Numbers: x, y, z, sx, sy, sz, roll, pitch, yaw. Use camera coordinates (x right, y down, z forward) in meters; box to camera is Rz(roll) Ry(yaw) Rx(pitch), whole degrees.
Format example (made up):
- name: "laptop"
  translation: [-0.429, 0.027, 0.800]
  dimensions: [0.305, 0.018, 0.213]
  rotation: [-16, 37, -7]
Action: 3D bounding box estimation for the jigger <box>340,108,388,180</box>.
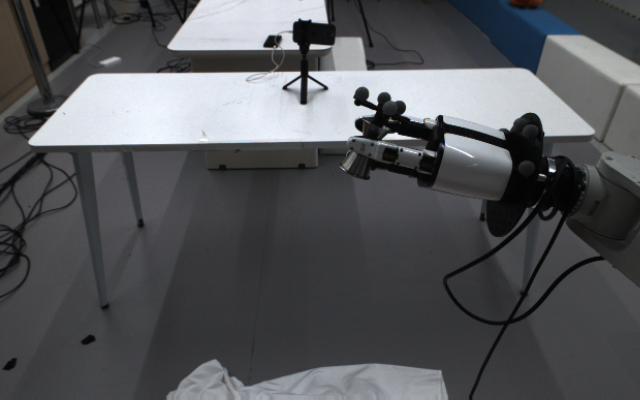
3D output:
- name: "jigger"
  translation: [0.056, -0.066, 0.610]
  dimensions: [0.043, 0.071, 0.043]
  rotation: [23, 19, -8]
